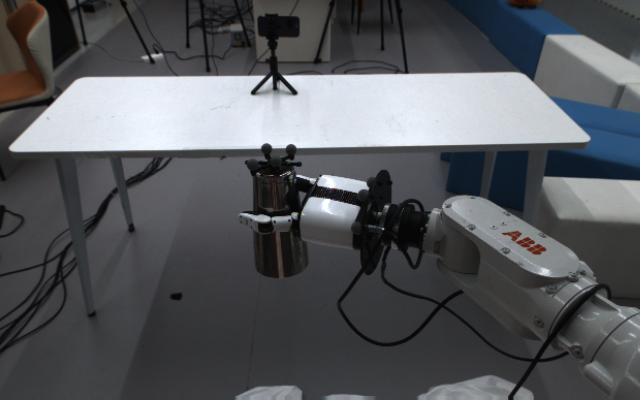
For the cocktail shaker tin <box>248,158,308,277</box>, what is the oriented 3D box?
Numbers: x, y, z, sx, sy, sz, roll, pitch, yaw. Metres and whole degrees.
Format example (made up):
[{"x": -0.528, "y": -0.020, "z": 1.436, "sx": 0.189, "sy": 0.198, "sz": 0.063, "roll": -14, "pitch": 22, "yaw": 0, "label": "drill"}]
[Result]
[{"x": -0.066, "y": 0.027, "z": 0.776, "sx": 0.093, "sy": 0.170, "sz": 0.093, "roll": -2, "pitch": 26, "yaw": 1, "label": "cocktail shaker tin"}]
